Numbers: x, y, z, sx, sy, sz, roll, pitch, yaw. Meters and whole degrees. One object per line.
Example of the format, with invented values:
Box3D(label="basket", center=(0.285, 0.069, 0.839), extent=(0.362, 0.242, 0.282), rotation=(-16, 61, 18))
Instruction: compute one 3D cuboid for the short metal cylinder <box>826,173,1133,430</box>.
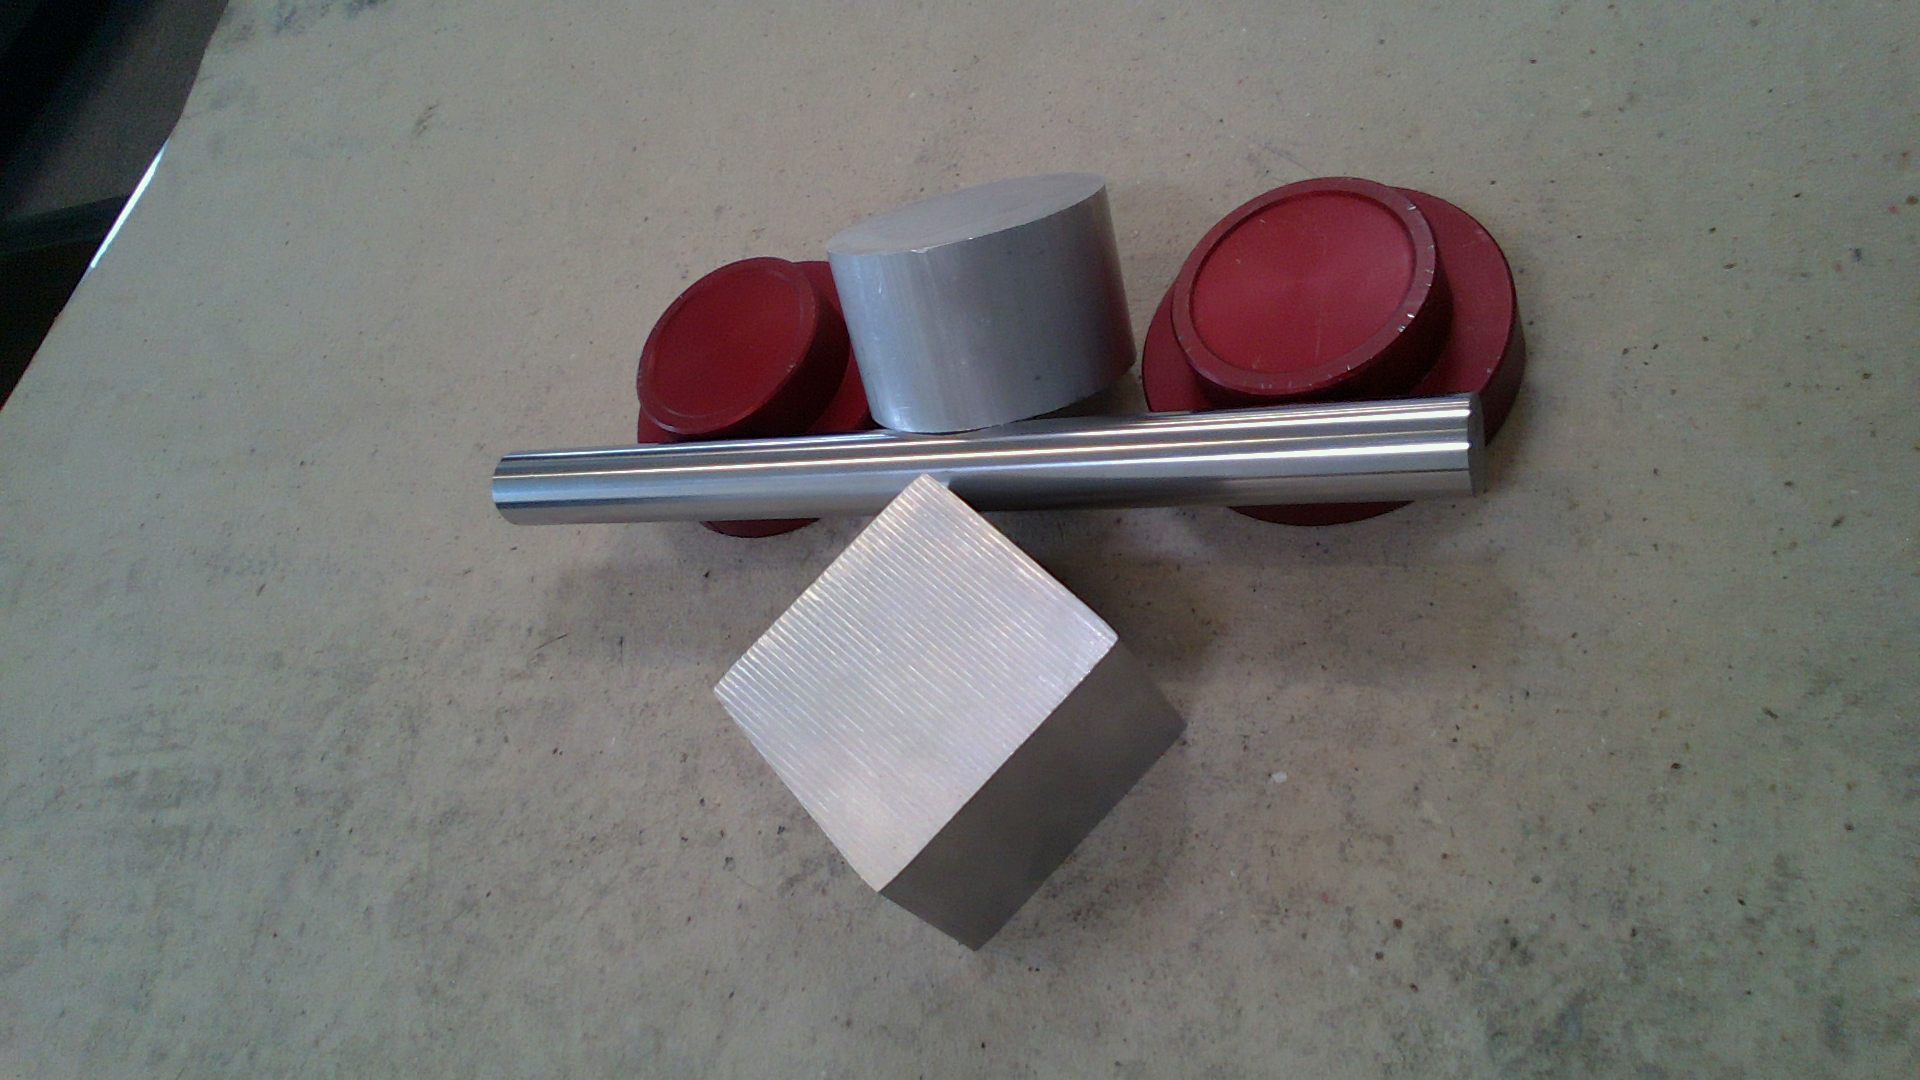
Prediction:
Box3D(label="short metal cylinder", center=(0.006, -0.070, 0.393), extent=(0.080, 0.050, 0.080), rotation=(-11, 22, 5))

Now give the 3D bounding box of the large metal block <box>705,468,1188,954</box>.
Box3D(label="large metal block", center=(-0.004, 0.042, 0.351), extent=(0.080, 0.050, 0.080), rotation=(-46, 51, -4))

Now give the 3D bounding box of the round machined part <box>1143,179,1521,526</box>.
Box3D(label="round machined part", center=(0.095, -0.056, 0.367), extent=(0.098, 0.042, 0.098), rotation=(-13, 56, 21))

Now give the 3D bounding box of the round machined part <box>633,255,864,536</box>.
Box3D(label="round machined part", center=(-0.067, -0.054, 0.452), extent=(0.098, 0.042, 0.098), rotation=(-13, 56, 21))

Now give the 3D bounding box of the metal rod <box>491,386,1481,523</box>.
Box3D(label="metal rod", center=(-0.014, -0.020, 0.387), extent=(0.299, 0.025, 0.025), rotation=(-1, 61, 28))
